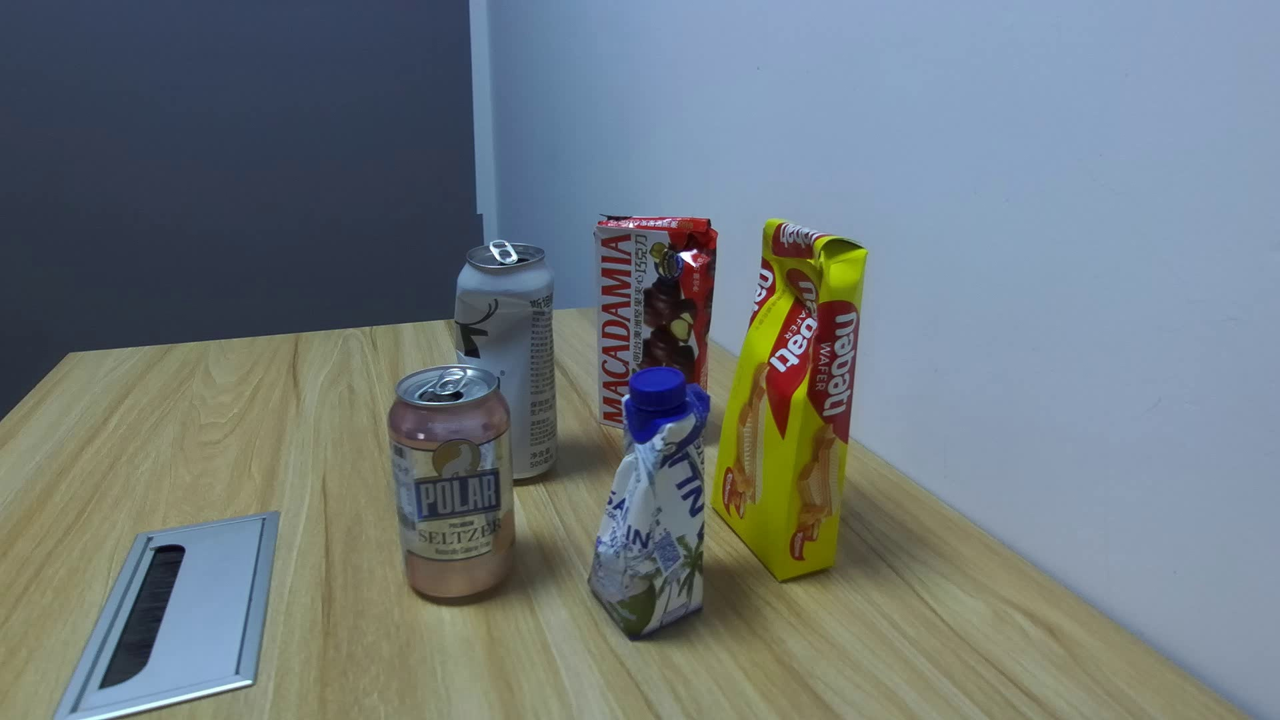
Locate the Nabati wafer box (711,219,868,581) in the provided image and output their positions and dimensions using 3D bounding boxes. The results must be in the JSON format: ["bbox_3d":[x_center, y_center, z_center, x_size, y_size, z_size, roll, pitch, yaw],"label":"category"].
[{"bbox_3d":[0.088,0.022,0.432,0.043,0.205,0.113,-6,21,-21],"label":"Nabati wafer box"}]

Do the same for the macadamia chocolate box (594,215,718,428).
[{"bbox_3d":[0.013,-0.023,0.568,0.102,0.187,0.027,12,24,26],"label":"macadamia chocolate box"}]

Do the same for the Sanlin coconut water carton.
[{"bbox_3d":[0.017,0.075,0.381,0.069,0.144,0.056,-3,27,-35],"label":"Sanlin coconut water carton"}]

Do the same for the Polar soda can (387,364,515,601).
[{"bbox_3d":[-0.107,0.070,0.409,0.067,0.125,0.067,2,20,0],"label":"Polar soda can"}]

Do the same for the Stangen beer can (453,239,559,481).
[{"bbox_3d":[-0.095,0.003,0.518,0.070,0.173,0.070,-9,21,-24],"label":"Stangen beer can"}]
